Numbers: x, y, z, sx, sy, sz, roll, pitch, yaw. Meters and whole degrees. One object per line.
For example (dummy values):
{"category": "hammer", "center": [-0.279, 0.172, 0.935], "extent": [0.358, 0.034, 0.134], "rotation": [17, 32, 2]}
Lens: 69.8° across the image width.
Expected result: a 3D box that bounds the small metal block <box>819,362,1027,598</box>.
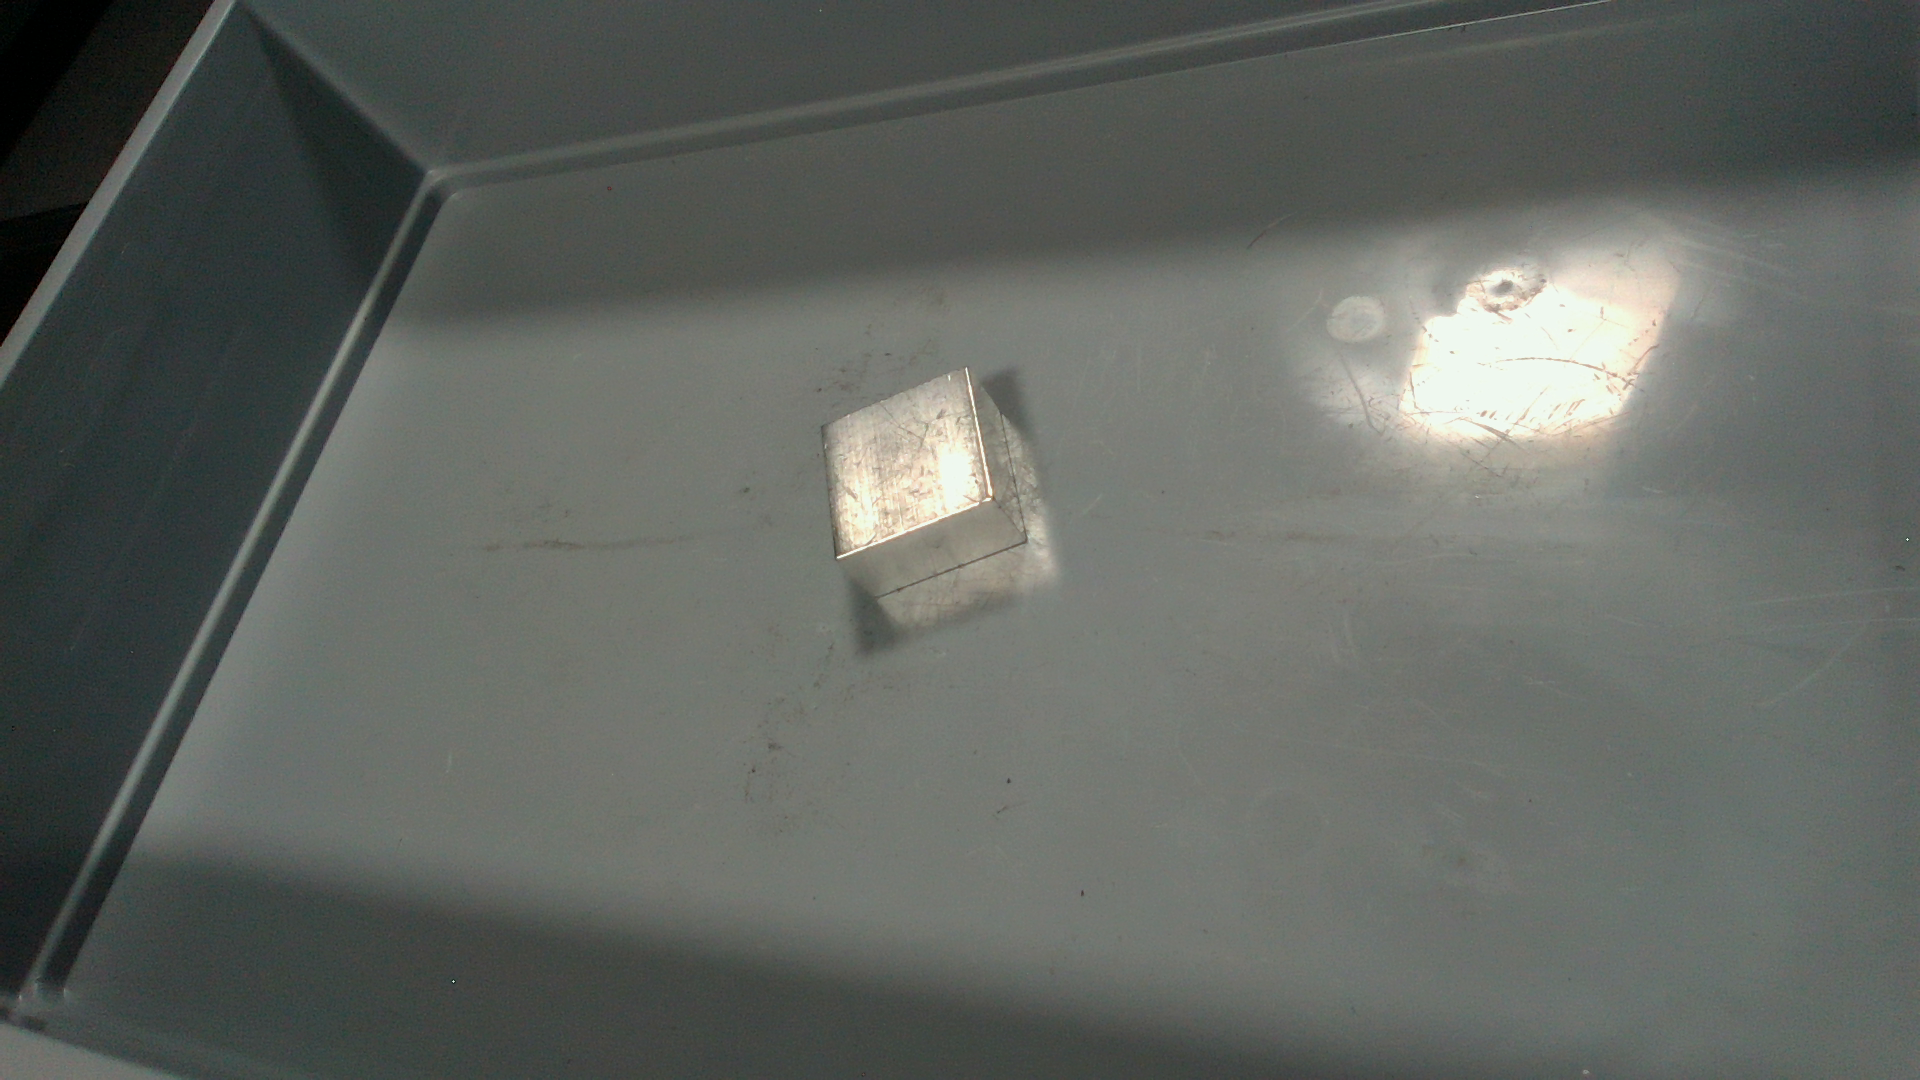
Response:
{"category": "small metal block", "center": [-0.012, -0.018, 0.407], "extent": [0.050, 0.025, 0.050], "rotation": [-21, 53, 16]}
